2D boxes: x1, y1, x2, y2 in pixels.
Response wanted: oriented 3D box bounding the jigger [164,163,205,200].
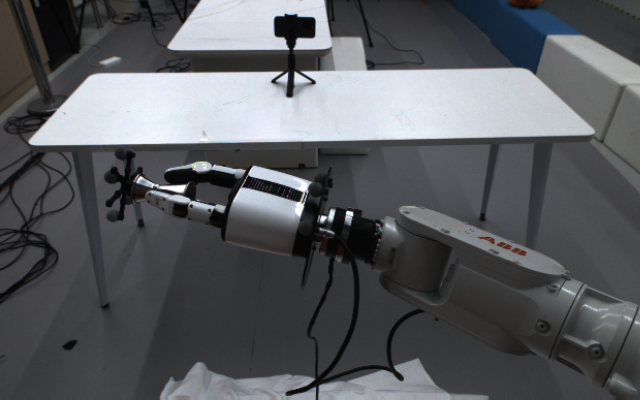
[{"bbox_3d":[-0.191,-0.010,0.616,0.071,0.043,0.043,10,35,2],"label":"jigger"}]
